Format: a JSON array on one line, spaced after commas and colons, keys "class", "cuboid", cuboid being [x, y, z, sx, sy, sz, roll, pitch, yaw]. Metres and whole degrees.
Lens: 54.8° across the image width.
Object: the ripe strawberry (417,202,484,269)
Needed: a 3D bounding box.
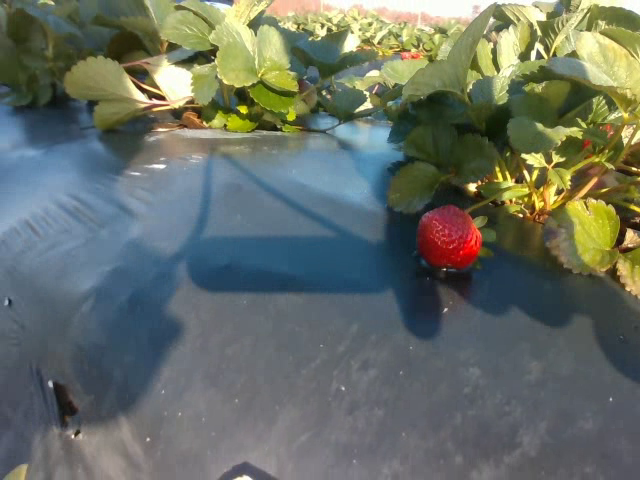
[{"class": "ripe strawberry", "cuboid": [0.046, -0.003, 0.229, 0.028, 0.031, 0.041, -5, -18, 27]}]
